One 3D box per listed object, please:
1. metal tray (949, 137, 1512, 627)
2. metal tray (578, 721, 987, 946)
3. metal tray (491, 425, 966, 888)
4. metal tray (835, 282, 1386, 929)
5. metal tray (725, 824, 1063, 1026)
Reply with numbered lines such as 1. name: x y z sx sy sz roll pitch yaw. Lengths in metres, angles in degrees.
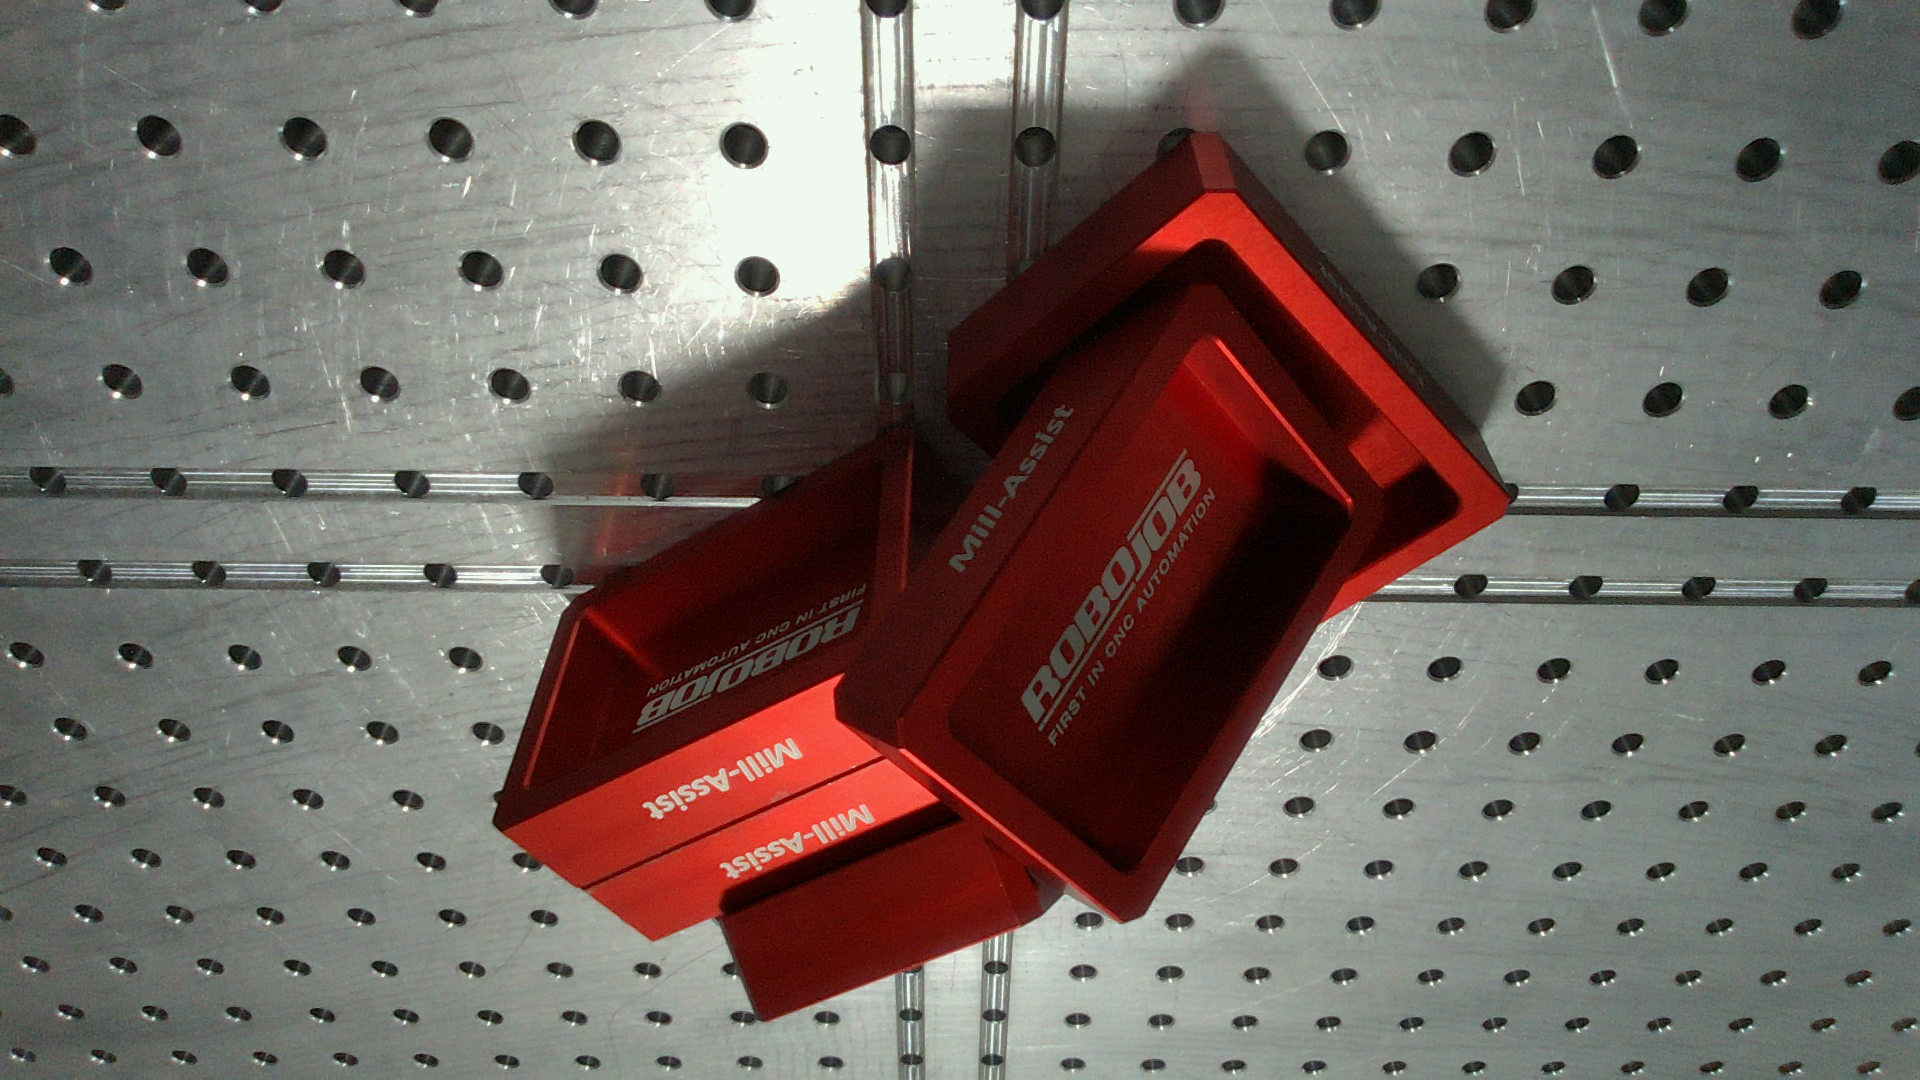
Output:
1. metal tray: 0.071 -0.030 0.364 0.090 0.030 0.130 -36 122 26
2. metal tray: -0.043 0.051 0.392 0.130 0.090 0.030 -26 125 20
3. metal tray: -0.061 0.031 0.376 0.130 0.090 0.030 -26 125 20
4. metal tray: 0.041 0.015 0.332 0.090 0.030 0.130 43 73 -30
5. metal tray: 0.000 0.096 0.414 0.090 0.130 0.030 -26 84 20
